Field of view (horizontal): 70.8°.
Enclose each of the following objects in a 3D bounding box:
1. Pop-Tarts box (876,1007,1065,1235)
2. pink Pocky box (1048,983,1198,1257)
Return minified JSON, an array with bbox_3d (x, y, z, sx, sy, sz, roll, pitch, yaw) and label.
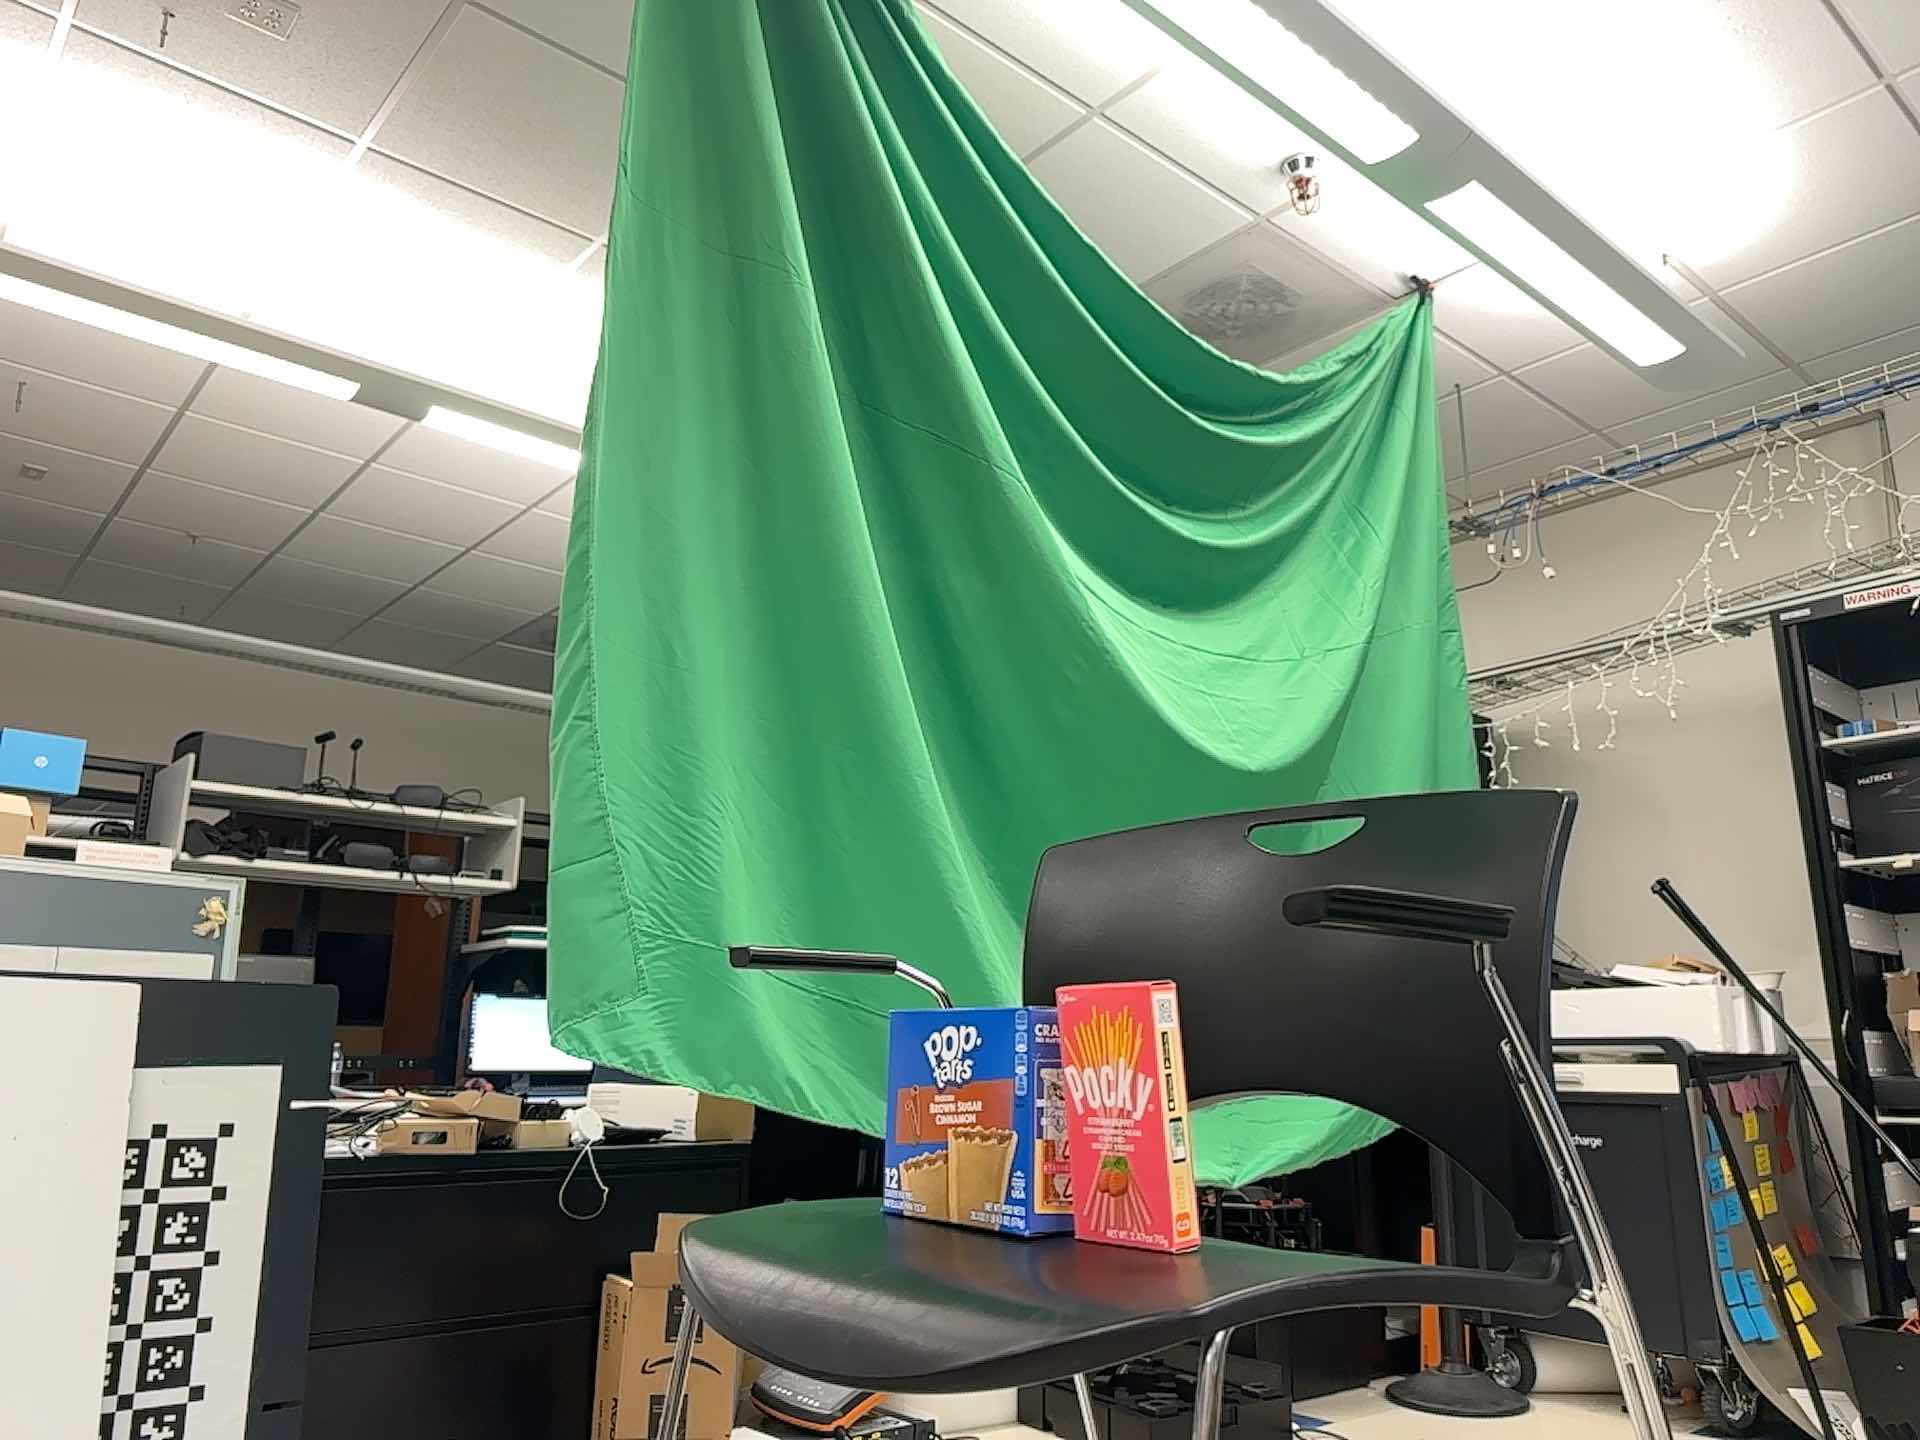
[{"bbox_3d":[0.023,0.272,0.937,0.075,0.135,0.161,12,-17,-39],"label":"Pop-Tarts box"},{"bbox_3d":[0.096,0.239,0.817,0.029,0.155,0.084,6,-14,-44],"label":"pink Pocky box"}]
